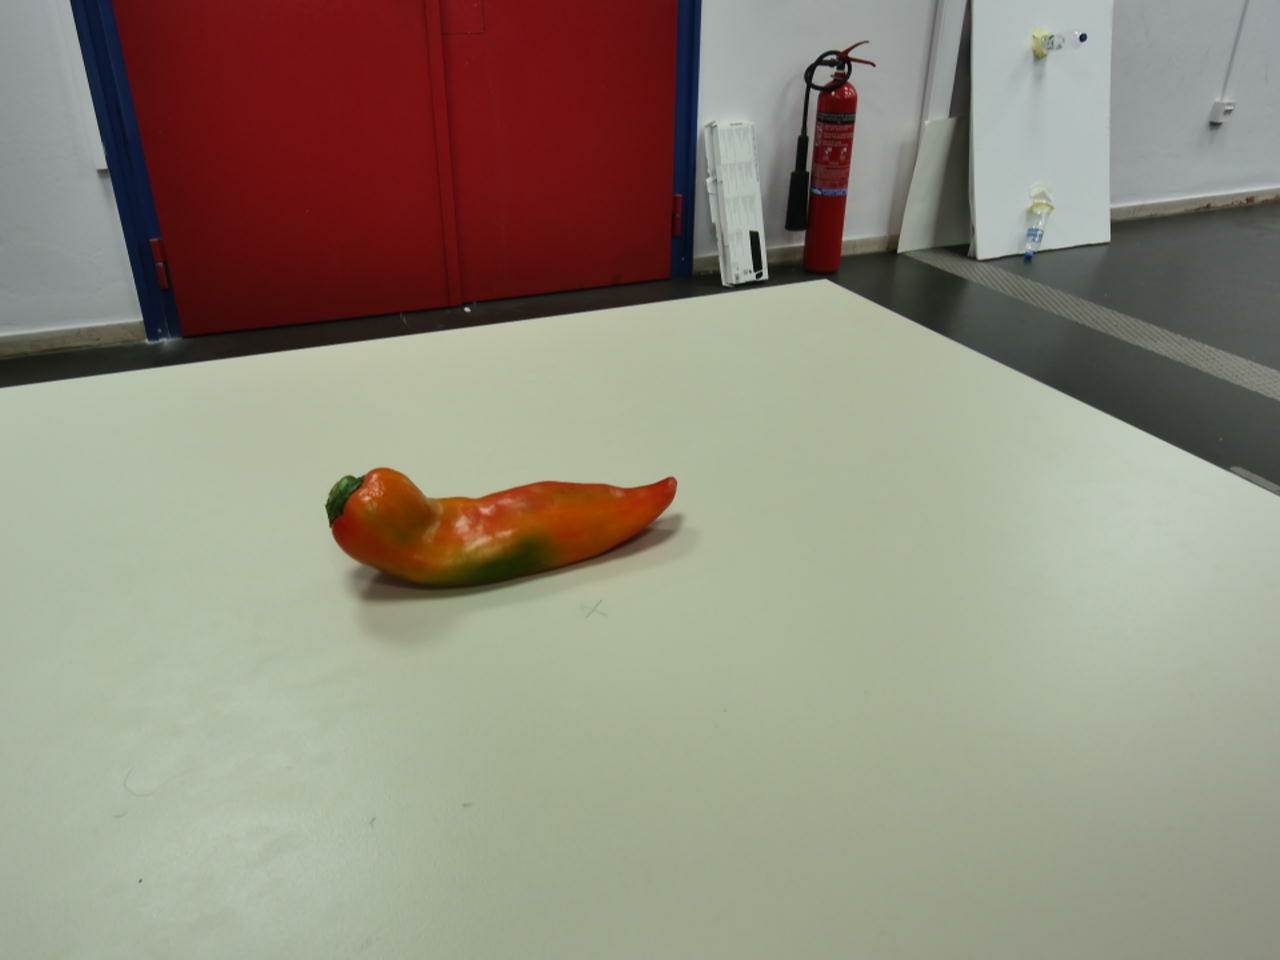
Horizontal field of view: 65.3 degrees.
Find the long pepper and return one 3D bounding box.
[{"bbox_3d":[-0.069,0.014,0.553,0.199,0.065,0.066,-9,28,-18],"label":"long pepper"}]
